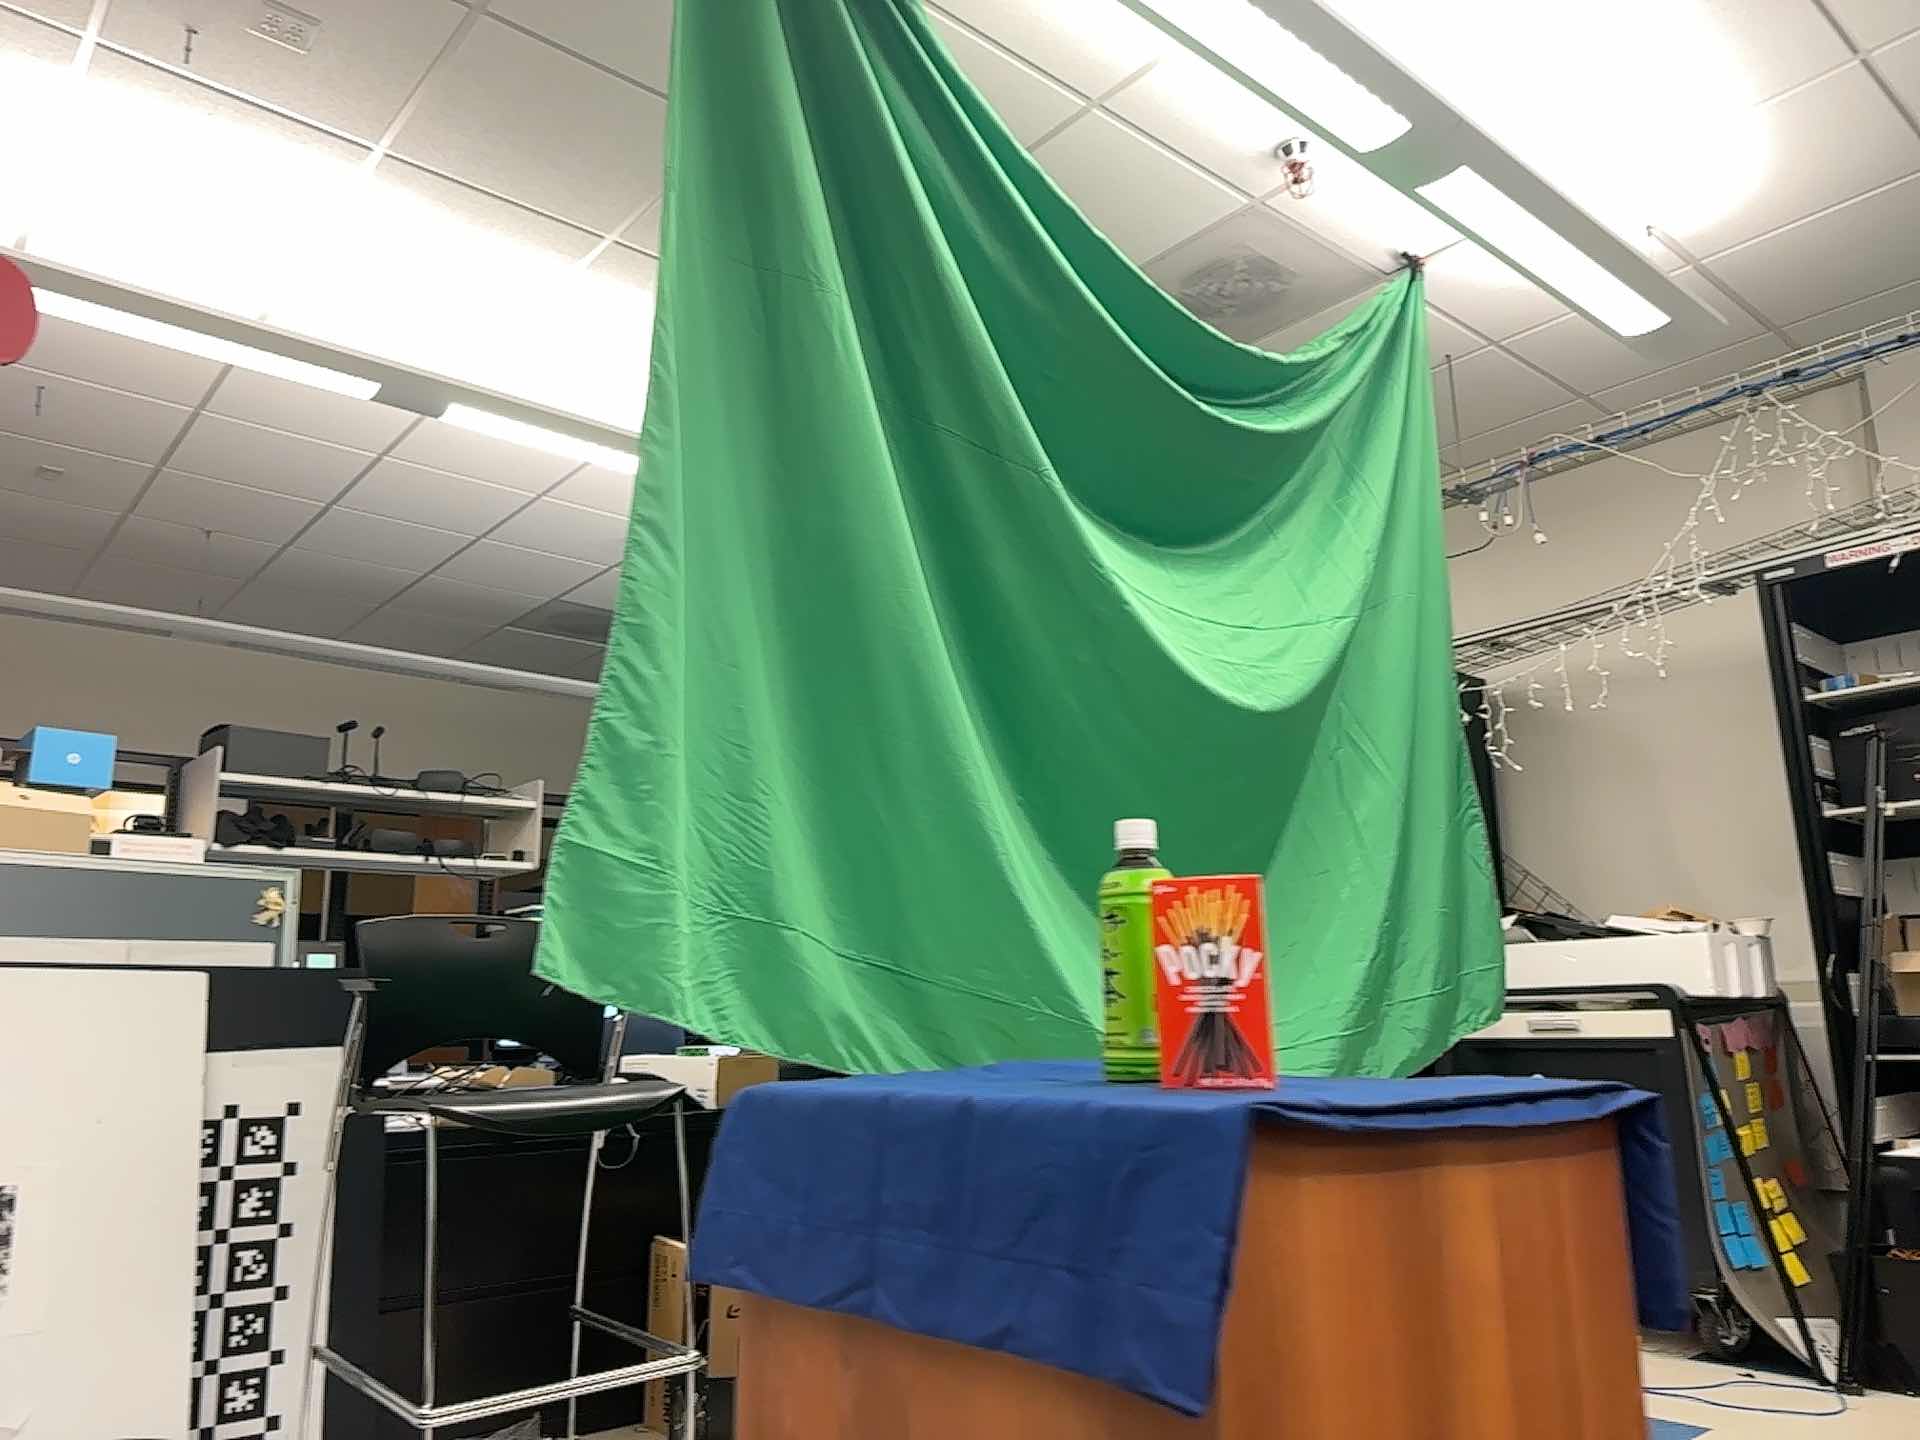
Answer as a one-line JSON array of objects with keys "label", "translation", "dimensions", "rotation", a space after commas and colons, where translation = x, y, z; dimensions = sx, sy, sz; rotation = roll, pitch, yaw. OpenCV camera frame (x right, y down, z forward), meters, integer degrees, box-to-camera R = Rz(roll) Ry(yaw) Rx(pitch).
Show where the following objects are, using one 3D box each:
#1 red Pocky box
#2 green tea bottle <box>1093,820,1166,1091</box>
[{"label": "red Pocky box", "translation": [0.181, 0.187, 0.967], "dimensions": [0.083, 0.155, 0.028], "rotation": [-5, -11, 20]}, {"label": "green tea bottle", "translation": [0.141, 0.187, 1.080], "dimensions": [0.073, 0.212, 0.073], "rotation": [-1, -13, 0]}]
